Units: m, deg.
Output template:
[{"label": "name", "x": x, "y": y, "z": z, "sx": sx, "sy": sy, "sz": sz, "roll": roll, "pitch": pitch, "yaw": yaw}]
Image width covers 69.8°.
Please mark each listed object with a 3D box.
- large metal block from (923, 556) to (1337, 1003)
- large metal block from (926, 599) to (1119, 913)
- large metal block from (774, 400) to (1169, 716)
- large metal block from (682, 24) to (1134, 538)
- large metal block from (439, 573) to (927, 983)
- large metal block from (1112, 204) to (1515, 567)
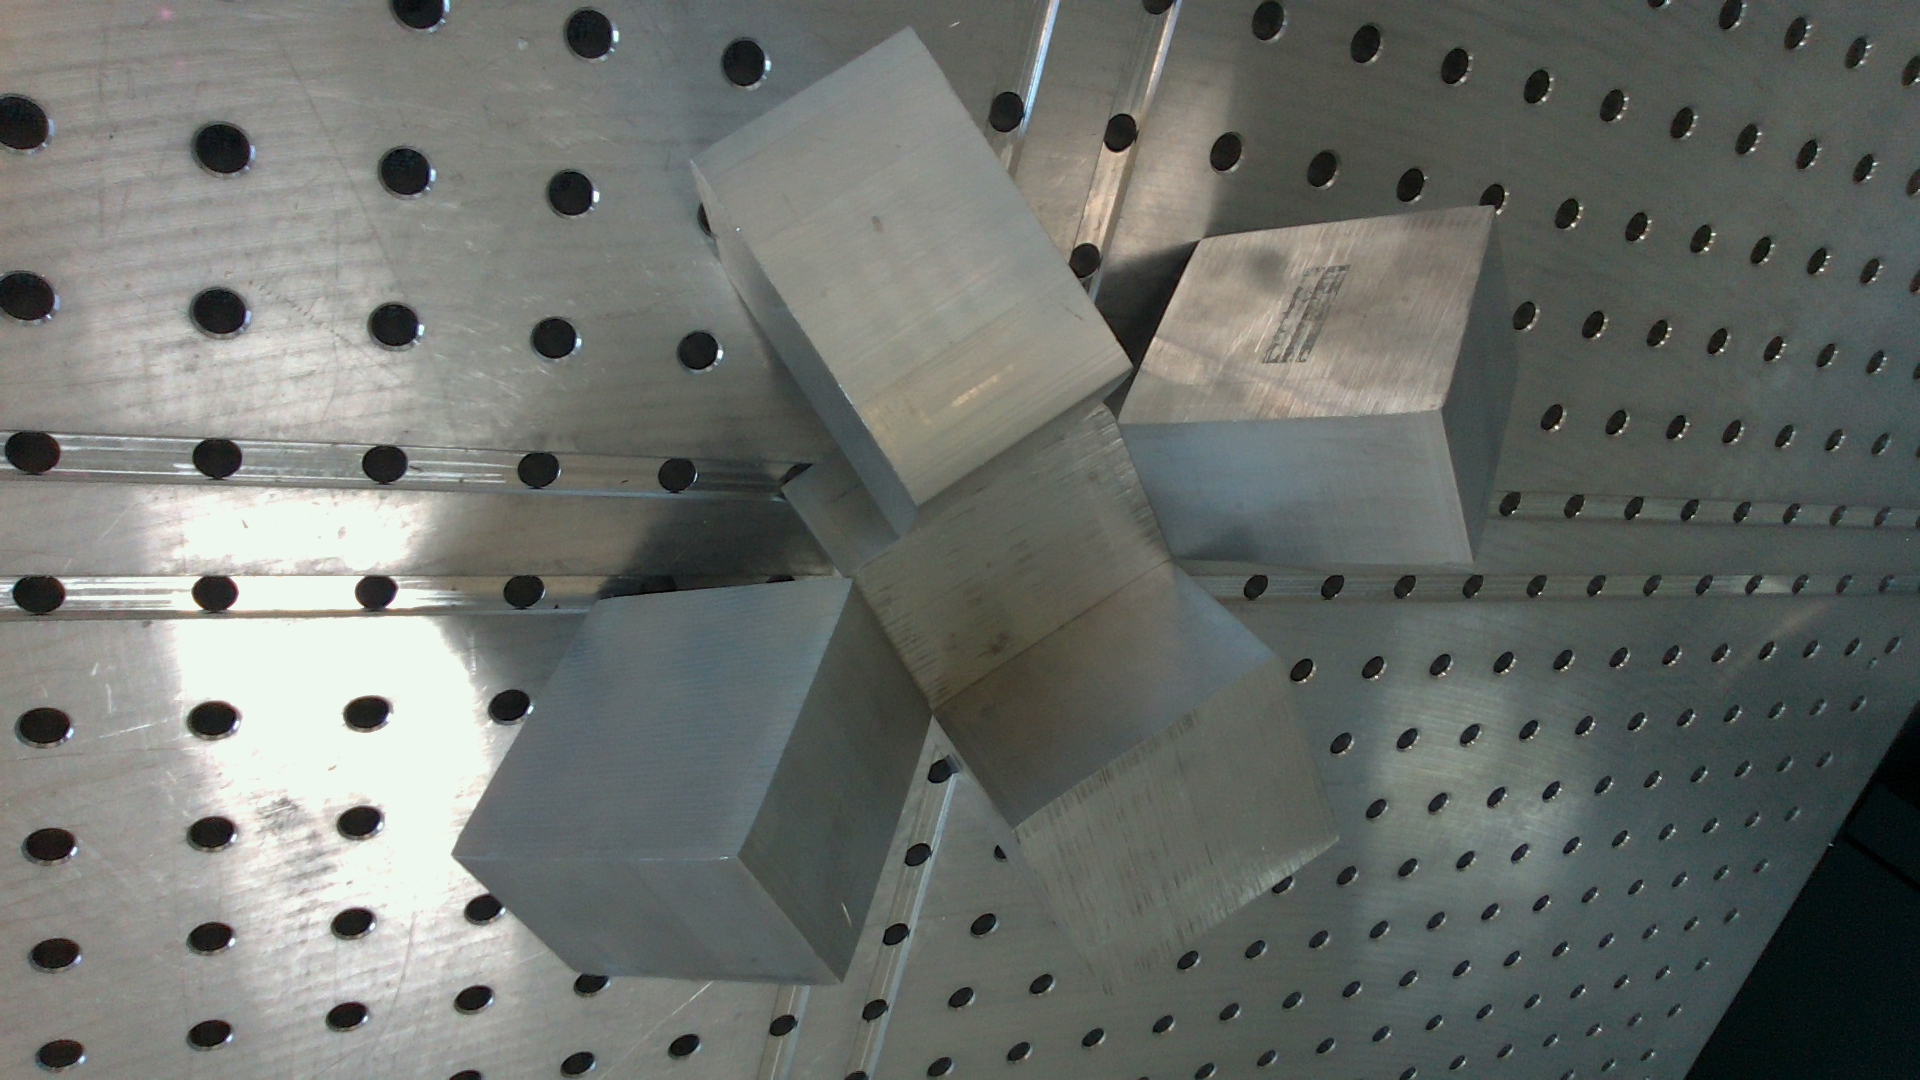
[{"label": "large metal block", "x": 0.048, "y": 0.066, "z": 0.376, "sx": 0.080, "sy": 0.050, "sz": 0.080, "roll": -33, "pitch": 129, "yaw": -8}, {"label": "large metal block", "x": 0.037, "y": 0.060, "z": 0.432, "sx": 0.080, "sy": 0.050, "sz": 0.080, "roll": -33, "pitch": 128, "yaw": -8}, {"label": "large metal block", "x": 0.008, "y": 0.002, "z": 0.382, "sx": 0.080, "sy": 0.050, "sz": 0.080, "roll": -33, "pitch": 129, "yaw": -6}, {"label": "large metal block", "x": -0.013, "y": -0.049, "z": 0.300, "sx": 0.050, "sy": 0.080, "sz": 0.080, "roll": -33, "pitch": 90, "yaw": -7}, {"label": "large metal block", "x": -0.064, "y": 0.058, "z": 0.338, "sx": 0.080, "sy": 0.080, "sz": 0.050, "roll": -6, "pitch": 133, "yaw": 26}, {"label": "large metal block", "x": 0.096, "y": -0.040, "z": 0.364, "sx": 0.080, "sy": 0.080, "sz": 0.050, "roll": -63, "pitch": 140, "yaw": -36}]
